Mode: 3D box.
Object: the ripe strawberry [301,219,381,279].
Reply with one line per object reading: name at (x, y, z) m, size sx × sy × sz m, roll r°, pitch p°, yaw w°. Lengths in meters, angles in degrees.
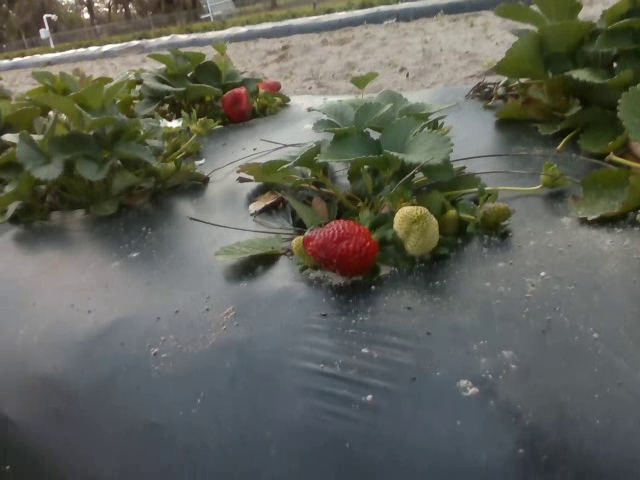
ripe strawberry at (0.011, 0.007, 0.384) m, size 0.046 × 0.046 × 0.059 m, roll -1°, pitch -3°, yaw 39°
